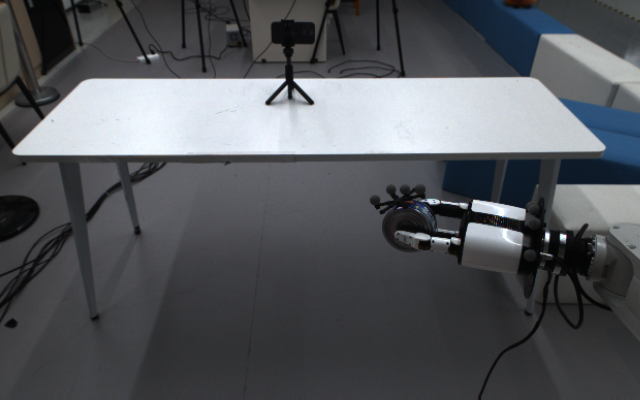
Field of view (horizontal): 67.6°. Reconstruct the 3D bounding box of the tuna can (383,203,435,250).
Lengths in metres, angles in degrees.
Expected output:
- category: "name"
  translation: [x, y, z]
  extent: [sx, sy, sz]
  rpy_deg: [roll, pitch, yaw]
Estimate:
- category: "tuna can"
  translation: [0.149, 0.040, 0.800]
  extent: [0.085, 0.085, 0.034]
  rpy_deg: [15, 30, 17]
